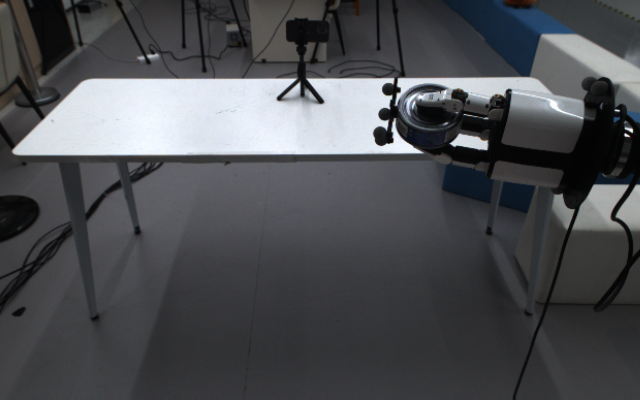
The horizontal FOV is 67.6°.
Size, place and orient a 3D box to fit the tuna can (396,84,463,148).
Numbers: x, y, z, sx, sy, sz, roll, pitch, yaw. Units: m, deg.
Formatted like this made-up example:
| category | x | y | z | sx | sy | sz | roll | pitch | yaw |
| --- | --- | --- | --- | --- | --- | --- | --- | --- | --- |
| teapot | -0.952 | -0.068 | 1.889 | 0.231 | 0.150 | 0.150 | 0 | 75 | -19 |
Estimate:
| category | x | y | z | sx | sy | sz | roll | pitch | yaw |
| --- | --- | --- | --- | --- | --- | --- | --- | --- | --- |
| tuna can | 0.144 | -0.113 | 0.632 | 0.085 | 0.034 | 0.085 | -2 | 57 | 2 |
